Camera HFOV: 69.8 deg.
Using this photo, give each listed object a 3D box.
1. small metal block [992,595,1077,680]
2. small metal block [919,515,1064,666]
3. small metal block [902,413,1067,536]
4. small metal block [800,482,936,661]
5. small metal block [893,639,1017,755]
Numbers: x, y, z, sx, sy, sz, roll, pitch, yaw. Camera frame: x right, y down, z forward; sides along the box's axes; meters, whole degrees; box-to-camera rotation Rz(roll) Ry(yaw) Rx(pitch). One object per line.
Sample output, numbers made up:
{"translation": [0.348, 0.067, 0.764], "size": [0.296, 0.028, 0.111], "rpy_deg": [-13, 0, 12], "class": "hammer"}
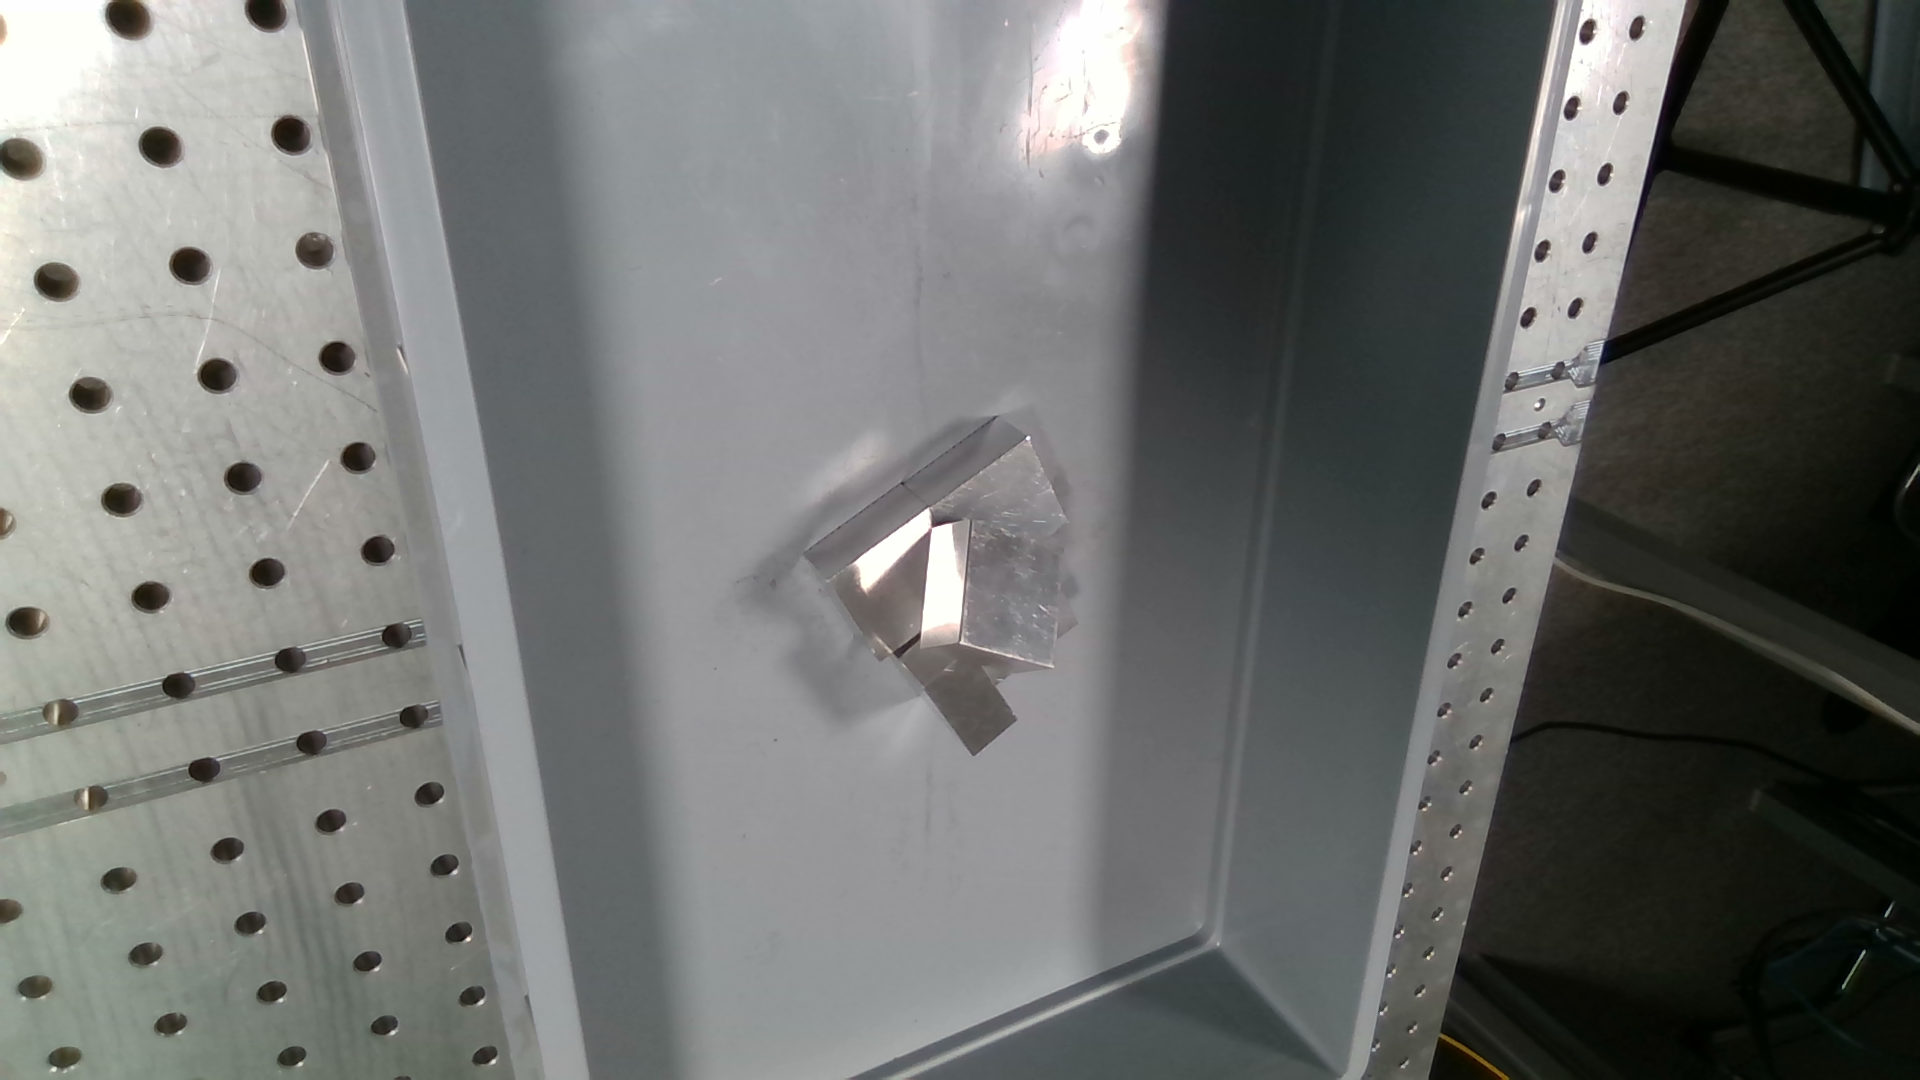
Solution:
{"translation": [0.017, 0.028, 0.605], "size": [0.050, 0.025, 0.050], "rpy_deg": [-36, 128, -10], "class": "small metal block"}
{"translation": [0.013, 0.022, 0.551], "size": [0.050, 0.025, 0.050], "rpy_deg": [18, 70, -37], "class": "small metal block"}
{"translation": [0.011, -0.016, 0.577], "size": [0.050, 0.025, 0.050], "rpy_deg": [-36, 128, -10], "class": "small metal block"}
{"translation": [-0.030, 0.013, 0.568], "size": [0.050, 0.025, 0.050], "rpy_deg": [-36, 128, -10], "class": "small metal block"}
{"translation": [-0.008, 0.056, 0.589], "size": [0.025, 0.050, 0.050], "rpy_deg": [-39, 129, -8], "class": "small metal block"}
